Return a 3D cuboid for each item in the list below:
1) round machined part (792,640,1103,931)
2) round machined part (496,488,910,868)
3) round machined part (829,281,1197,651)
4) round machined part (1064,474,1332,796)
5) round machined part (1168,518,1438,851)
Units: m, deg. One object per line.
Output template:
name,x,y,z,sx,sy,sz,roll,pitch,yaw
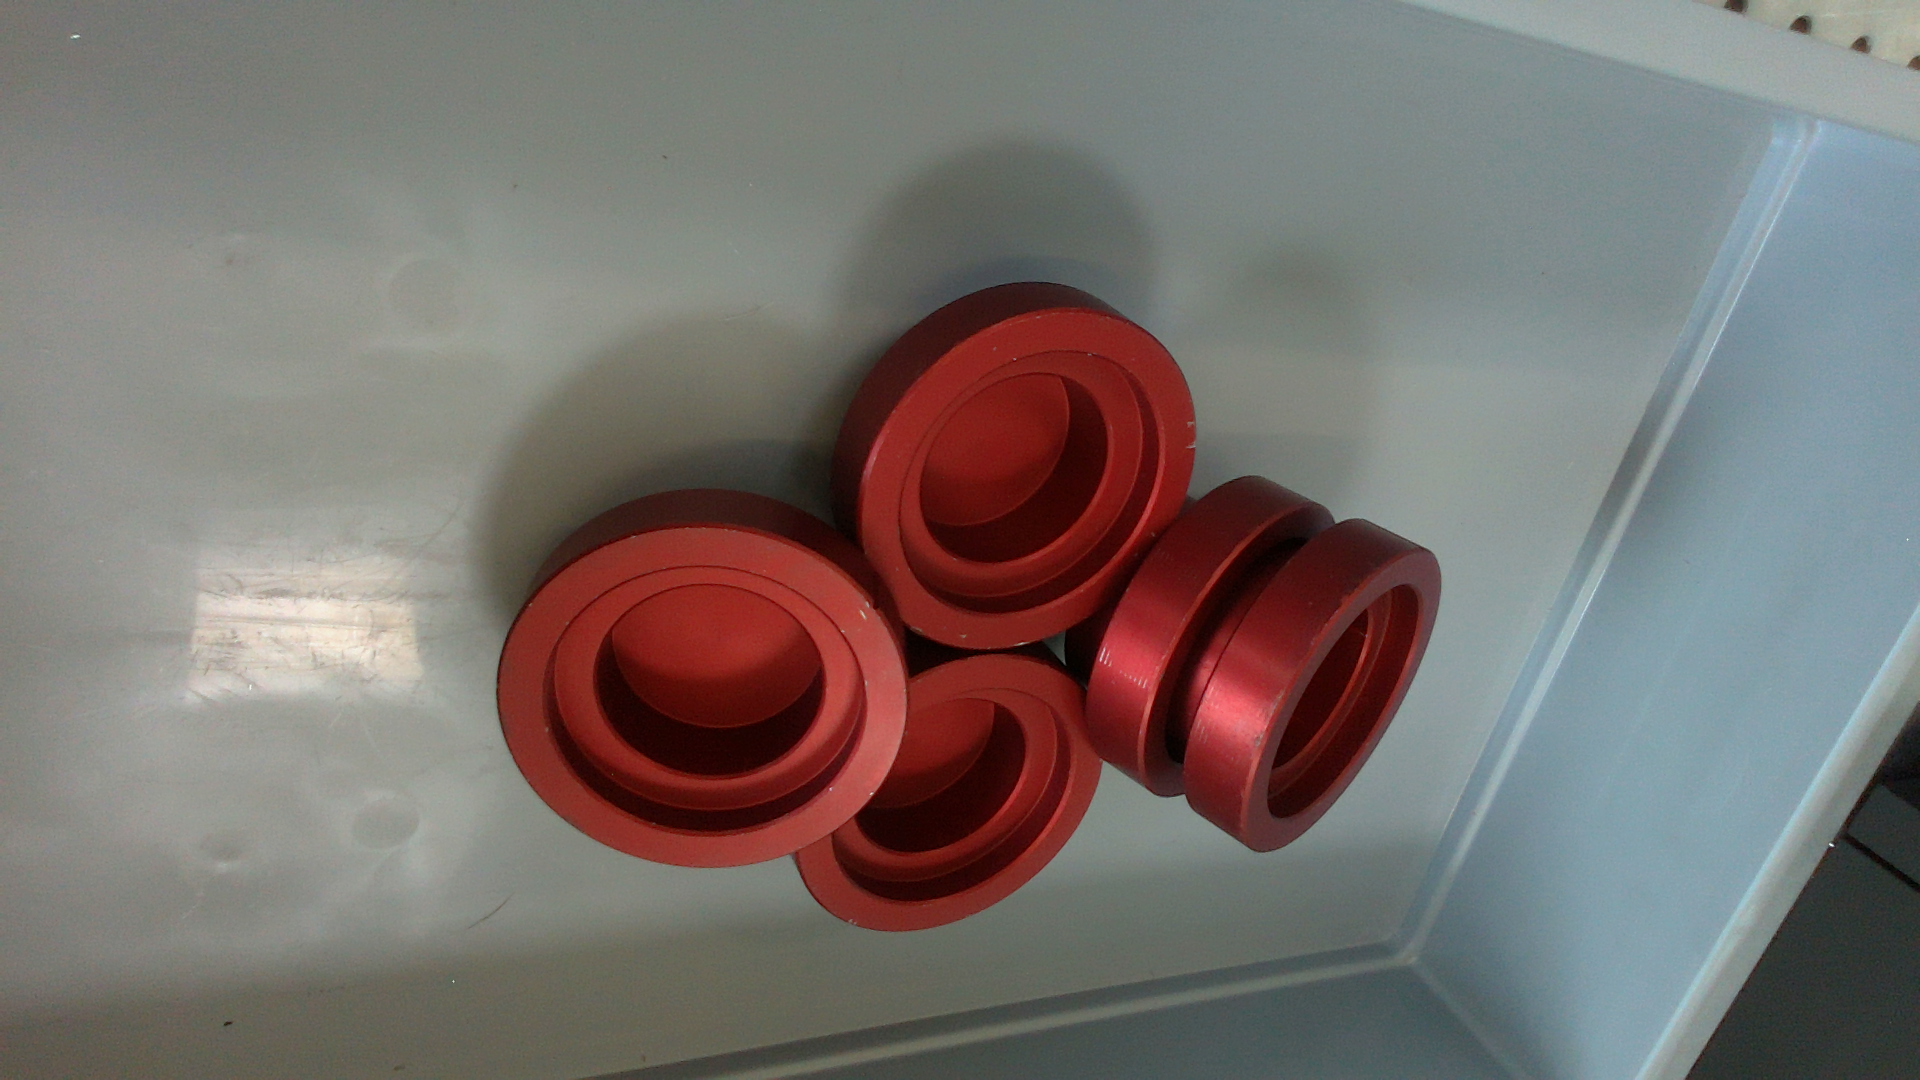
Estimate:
round machined part,-0.010,0.065,0.411,0.098,0.042,0.098,-14,124,-21
round machined part,-0.062,0.031,0.349,0.098,0.042,0.098,-2,116,-4
round machined part,0.011,-0.023,0.368,0.098,0.042,0.098,-14,124,-21
round machined part,0.069,0.024,0.415,0.098,0.042,0.098,-33,139,-34
round machined part,0.094,0.037,0.401,0.098,0.042,0.098,-33,139,-34
